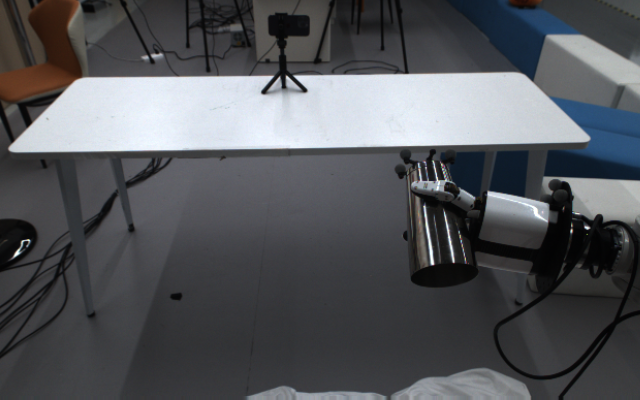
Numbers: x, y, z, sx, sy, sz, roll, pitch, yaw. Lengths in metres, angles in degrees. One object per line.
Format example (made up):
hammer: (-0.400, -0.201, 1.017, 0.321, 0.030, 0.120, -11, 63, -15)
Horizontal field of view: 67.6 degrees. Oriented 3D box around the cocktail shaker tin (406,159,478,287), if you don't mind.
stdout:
cocktail shaker tin: (0.166, 0.029, 0.696, 0.093, 0.093, 0.170, 0, 59, -3)
